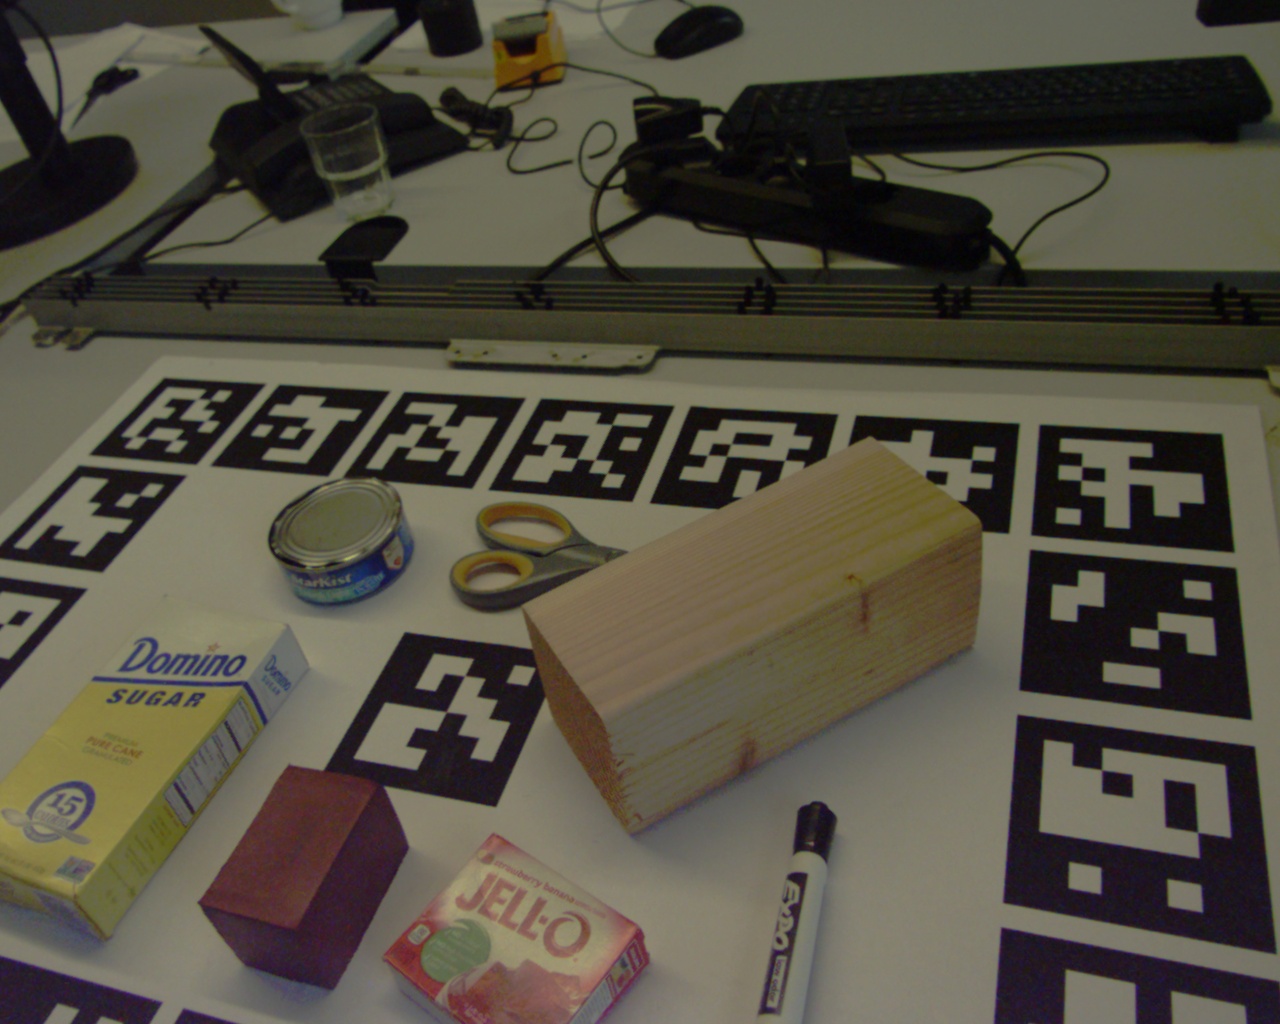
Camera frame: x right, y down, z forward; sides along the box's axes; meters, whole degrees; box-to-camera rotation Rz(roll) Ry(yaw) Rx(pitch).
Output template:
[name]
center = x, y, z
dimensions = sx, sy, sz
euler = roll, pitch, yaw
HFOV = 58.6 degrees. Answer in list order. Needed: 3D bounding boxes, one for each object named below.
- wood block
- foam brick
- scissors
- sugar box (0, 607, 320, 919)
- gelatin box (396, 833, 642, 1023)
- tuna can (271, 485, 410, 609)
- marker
[wood block]
center = 0.057, 0.068, 0.602
dimensions = 0.205, 0.090, 0.091
euler = -26, 42, -15
[foam brick]
center = -0.154, 0.176, 0.560
dimensions = 0.053, 0.051, 0.078
euler = 6, 46, 21
[scissors]
center = -0.029, 0.040, 0.707
dimensions = 0.205, 0.016, 0.087
euler = 9, 47, 27
[sugar box]
center = -0.271, 0.135, 0.650
dimensions = 0.094, 0.045, 0.176
euler = 9, 46, 22
[gelatin box]
center = -0.056, 0.201, 0.527
dimensions = 0.090, 0.030, 0.073
euler = 20, 52, 33
[tuna can]
center = -0.197, 0.023, 0.754
dimensions = 0.086, 0.033, 0.086
euler = -8, 42, 7
[marker]
center = 0.059, 0.185, 0.518
dimensions = 0.020, 0.019, 0.121
euler = 6, 47, 20
